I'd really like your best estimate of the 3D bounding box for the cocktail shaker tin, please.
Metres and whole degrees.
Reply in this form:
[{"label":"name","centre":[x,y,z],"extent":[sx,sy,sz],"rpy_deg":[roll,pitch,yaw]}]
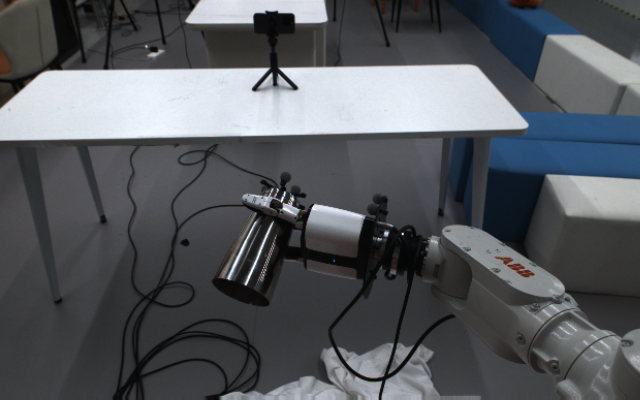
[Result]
[{"label":"cocktail shaker tin","centre":[-0.091,0.064,0.751],"extent":[0.093,0.093,0.170],"rpy_deg":[13,59,16]}]
